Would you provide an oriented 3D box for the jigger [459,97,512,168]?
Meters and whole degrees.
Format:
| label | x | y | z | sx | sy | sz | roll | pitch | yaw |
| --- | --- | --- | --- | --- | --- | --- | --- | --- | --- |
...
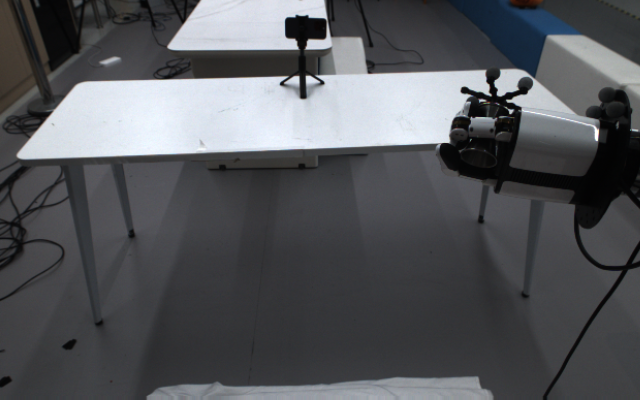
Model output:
| label | x | y | z | sx | sy | sz | roll | pitch | yaw |
| --- | --- | --- | --- | --- | --- | --- | --- | --- | --- |
| jigger | 0.201 | -0.083 | 0.587 | 0.043 | 0.043 | 0.071 | 16 | 70 | 19 |
